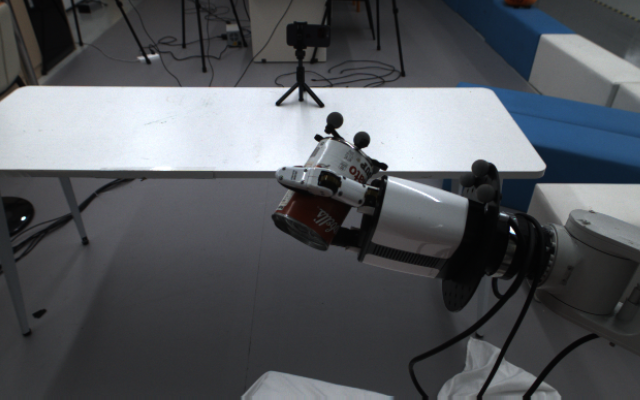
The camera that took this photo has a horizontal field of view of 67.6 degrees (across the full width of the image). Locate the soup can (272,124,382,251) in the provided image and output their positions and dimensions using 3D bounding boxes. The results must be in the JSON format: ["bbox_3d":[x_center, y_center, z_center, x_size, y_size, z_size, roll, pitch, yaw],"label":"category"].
[{"bbox_3d":[0.006,-0.006,0.508,0.067,0.067,0.101,23,72,27],"label":"soup can"}]
